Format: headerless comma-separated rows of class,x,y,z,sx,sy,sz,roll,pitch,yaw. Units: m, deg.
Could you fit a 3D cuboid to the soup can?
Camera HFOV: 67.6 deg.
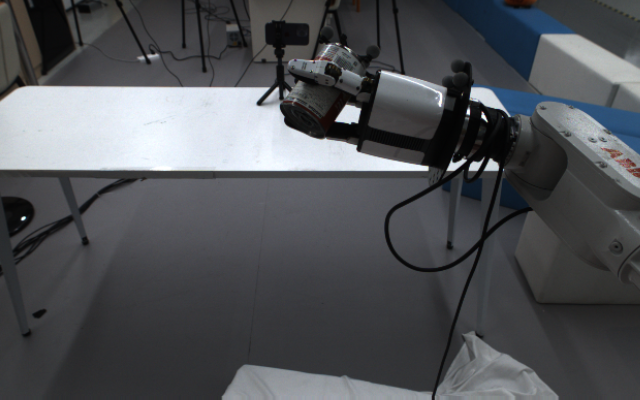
soup can,0.005,-0.139,0.614,0.067,0.067,0.101,26,75,31
